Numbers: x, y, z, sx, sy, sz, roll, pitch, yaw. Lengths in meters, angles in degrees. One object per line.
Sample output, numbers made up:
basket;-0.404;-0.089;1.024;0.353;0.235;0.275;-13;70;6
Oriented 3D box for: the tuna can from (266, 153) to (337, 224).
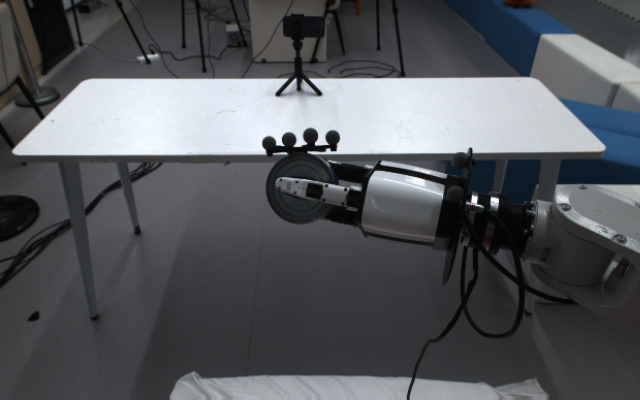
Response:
tuna can;-0.018;-0.010;0.587;0.085;0.085;0.034;10;3;11
